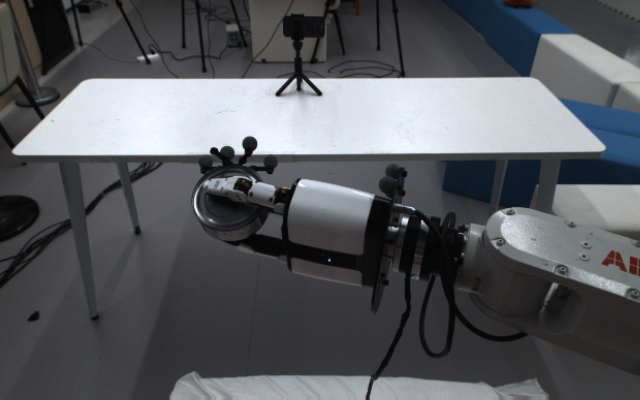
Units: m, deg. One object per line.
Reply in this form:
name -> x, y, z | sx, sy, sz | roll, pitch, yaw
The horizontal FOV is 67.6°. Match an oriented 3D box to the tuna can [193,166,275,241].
tuna can -> -0.099, 0.008, 0.553 | 0.085, 0.034, 0.085 | -1, 58, 2
